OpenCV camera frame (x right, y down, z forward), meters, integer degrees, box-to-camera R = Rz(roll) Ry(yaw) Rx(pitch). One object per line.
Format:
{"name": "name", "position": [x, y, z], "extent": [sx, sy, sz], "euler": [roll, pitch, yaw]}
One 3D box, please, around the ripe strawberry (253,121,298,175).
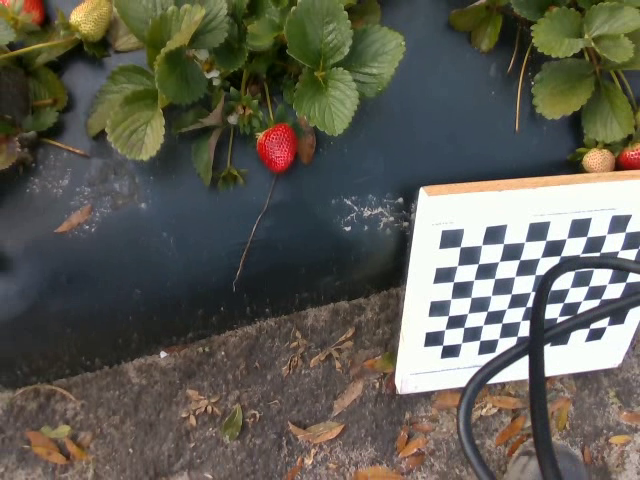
{"name": "ripe strawberry", "position": [-0.043, -0.089, 0.648], "extent": [0.050, 0.053, 0.049], "euler": [-13, -34, -6]}
